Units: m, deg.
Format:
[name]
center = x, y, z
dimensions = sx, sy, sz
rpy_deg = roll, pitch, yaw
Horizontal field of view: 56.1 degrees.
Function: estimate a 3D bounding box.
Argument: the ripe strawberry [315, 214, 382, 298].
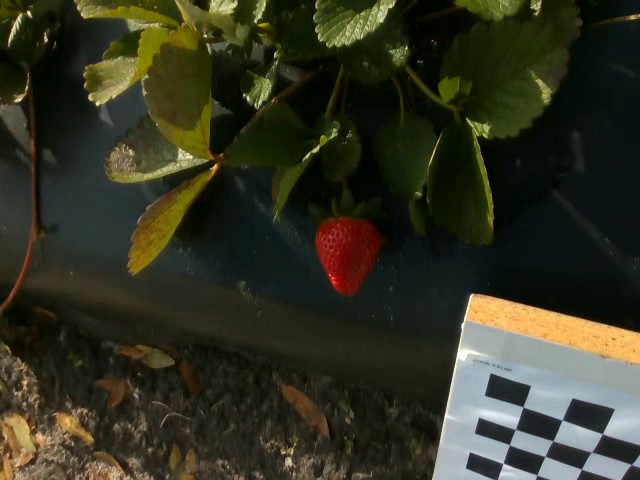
[ripe strawberry]
center = 0.013, 0.007, 0.295
dimensions = 0.041, 0.047, 0.041
rpy_deg = -5, -19, 45
